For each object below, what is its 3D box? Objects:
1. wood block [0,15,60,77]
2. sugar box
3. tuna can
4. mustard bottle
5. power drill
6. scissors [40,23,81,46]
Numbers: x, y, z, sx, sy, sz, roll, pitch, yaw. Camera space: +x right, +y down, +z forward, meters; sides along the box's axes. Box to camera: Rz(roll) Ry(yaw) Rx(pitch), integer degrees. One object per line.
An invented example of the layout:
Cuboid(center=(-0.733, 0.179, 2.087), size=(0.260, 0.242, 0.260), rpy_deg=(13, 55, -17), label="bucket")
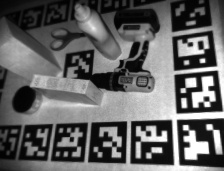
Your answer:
Cuboid(center=(-0.259, -0.099, 0.623), size=(0.091, 0.208, 0.089), rpy_deg=(-33, 65, 9), label="wood block")
Cuboid(center=(-0.128, -0.001, 0.597), size=(0.175, 0.094, 0.045), rpy_deg=(7, 73, 21), label="sugar box")
Cuboid(center=(-0.274, 0.029, 0.670), size=(0.085, 0.034, 0.085), rpy_deg=(-6, 72, 18), label="tuna can")
Cuboid(center=(-0.052, -0.154, 0.569), size=(0.058, 0.194, 0.095), rpy_deg=(-44, 64, 5), label="mustard bottle")
Cuboid(center=(0.013, -0.092, 0.590), size=(0.182, 0.058, 0.187), rpy_deg=(8, 83, 23), label="power drill")
Cuboid(center=(-0.151, -0.176, 0.702), size=(0.201, 0.016, 0.087), rpy_deg=(-3, 68, 20), label="scissors")
